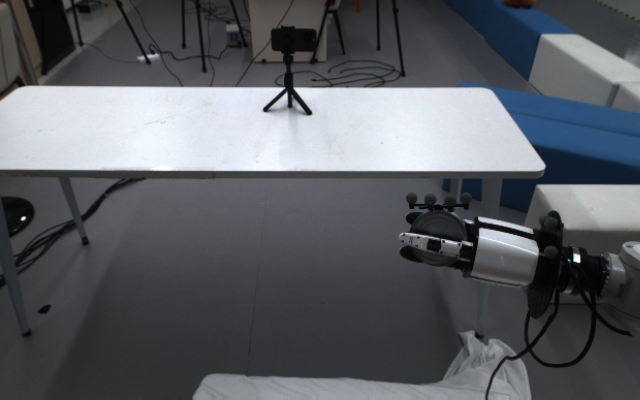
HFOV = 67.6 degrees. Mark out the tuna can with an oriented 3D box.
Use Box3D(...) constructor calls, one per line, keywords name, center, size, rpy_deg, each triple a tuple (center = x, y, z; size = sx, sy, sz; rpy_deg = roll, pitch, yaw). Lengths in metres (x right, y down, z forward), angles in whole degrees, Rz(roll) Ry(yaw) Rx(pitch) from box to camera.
Box3D(name="tuna can", center=(0.181, 0.054, 0.735), size=(0.085, 0.085, 0.034), rpy_deg=(15, 9, 18))
